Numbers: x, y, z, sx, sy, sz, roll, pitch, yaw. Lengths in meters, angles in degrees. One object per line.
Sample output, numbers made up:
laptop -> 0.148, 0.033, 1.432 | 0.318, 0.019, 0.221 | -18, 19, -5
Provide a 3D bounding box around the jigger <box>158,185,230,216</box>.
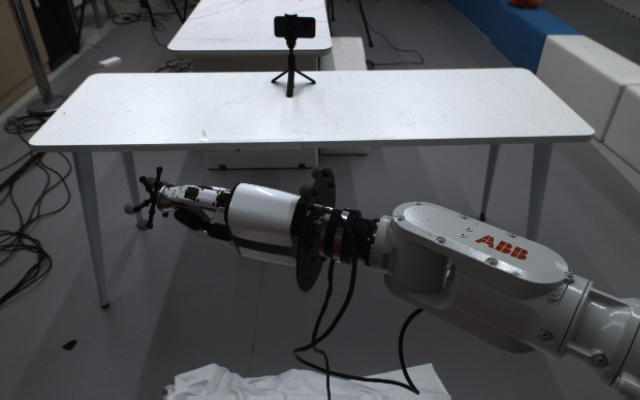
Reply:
jigger -> -0.175, -0.002, 0.661 | 0.071, 0.043, 0.043 | 7, 35, 14
